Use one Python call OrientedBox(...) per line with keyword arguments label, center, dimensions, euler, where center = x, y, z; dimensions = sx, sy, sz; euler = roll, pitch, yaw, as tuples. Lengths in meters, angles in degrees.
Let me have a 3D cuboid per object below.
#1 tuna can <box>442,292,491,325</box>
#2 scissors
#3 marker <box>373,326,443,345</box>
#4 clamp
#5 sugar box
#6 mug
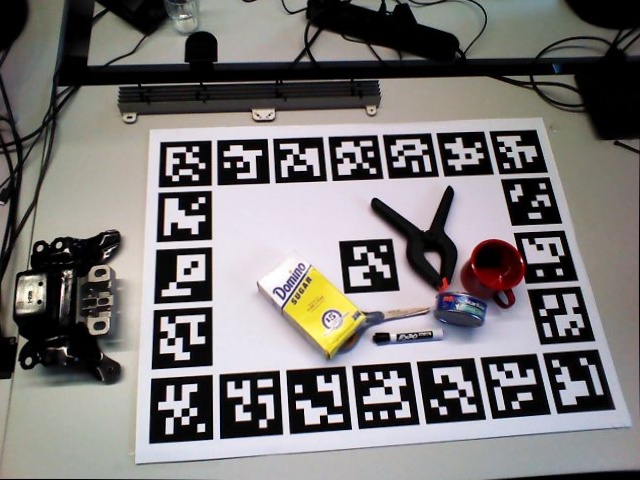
OrientedBox(label="tuna can", center=(0.251, 0.115, 0.878), dimensions=(0.086, 0.086, 0.033), euler=(13, 68, 1))
OrientedBox(label="scissors", center=(0.102, 0.127, 0.897), dimensions=(0.202, 0.016, 0.087), euler=(-13, 66, -10))
OrientedBox(label="marker", center=(0.150, 0.164, 0.889), dimensions=(0.121, 0.020, 0.019), euler=(-6, 70, -5))
OrientedBox(label="clamp", center=(0.207, -0.004, 0.959), dimensions=(0.165, 0.037, 0.202), euler=(-13, 71, -9))
OrientedBox(label="sugar box", center=(-0.006, 0.106, 0.882), dimensions=(0.092, 0.045, 0.176), euler=(-39, 70, -17))
OrientedBox(label="mug", center=(0.306, 0.065, 0.907), dimensions=(0.093, 0.082, 0.117), euler=(-29, 70, -14))
